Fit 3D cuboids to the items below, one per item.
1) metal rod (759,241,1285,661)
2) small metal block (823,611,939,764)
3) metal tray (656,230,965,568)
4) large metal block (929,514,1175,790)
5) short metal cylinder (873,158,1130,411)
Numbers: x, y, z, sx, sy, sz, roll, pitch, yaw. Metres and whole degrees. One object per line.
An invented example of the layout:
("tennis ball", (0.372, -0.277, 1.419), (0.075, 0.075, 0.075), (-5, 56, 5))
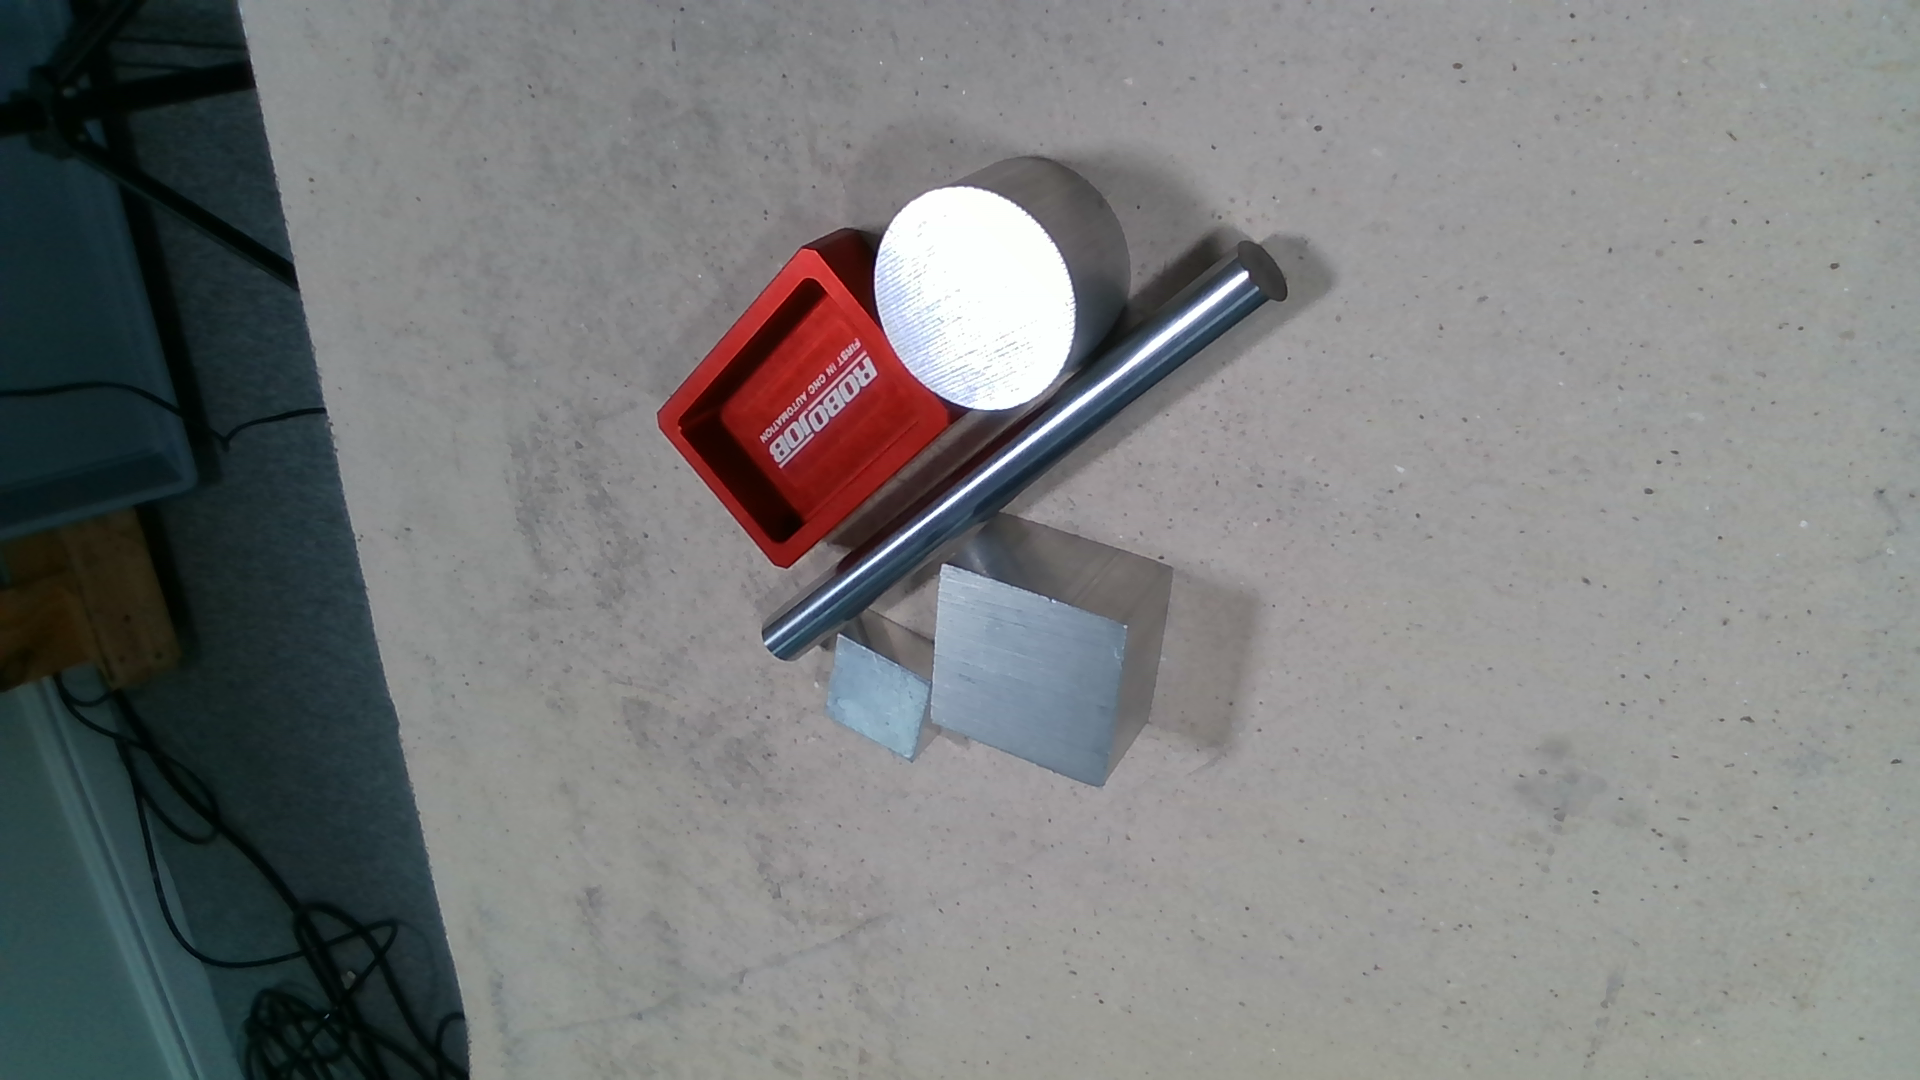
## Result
("metal rod", (0.008, -0.022, 0.562), (0.301, 0.025, 0.025), (-36, 93, 39))
("small metal block", (-0.033, 0.067, 0.638), (0.050, 0.025, 0.050), (26, 126, 18))
("metal tray", (-0.063, -0.057, 0.584), (0.090, 0.030, 0.130), (50, 129, -2))
("large metal block", (0.036, 0.044, 0.566), (0.080, 0.050, 0.080), (18, 123, 22))
("short metal cylinder", (0.015, -0.094, 0.503), (0.080, 0.050, 0.080), (14, 122, 25))
